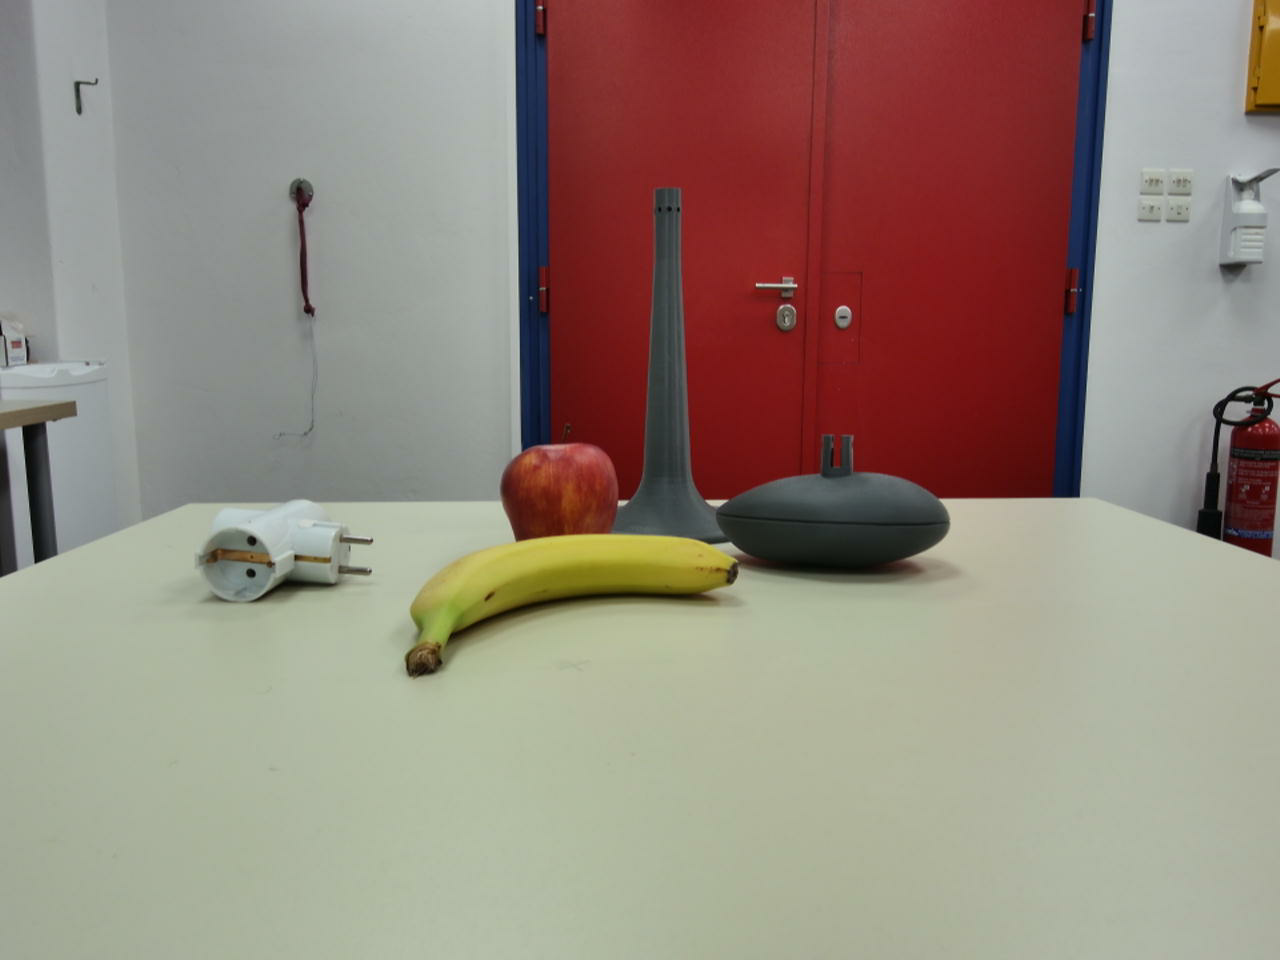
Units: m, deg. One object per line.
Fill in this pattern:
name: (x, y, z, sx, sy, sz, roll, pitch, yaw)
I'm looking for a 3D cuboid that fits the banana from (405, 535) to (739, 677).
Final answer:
banana: (-0.047, 0.055, 0.525, 0.196, 0.041, 0.094, -5, 8, -36)
